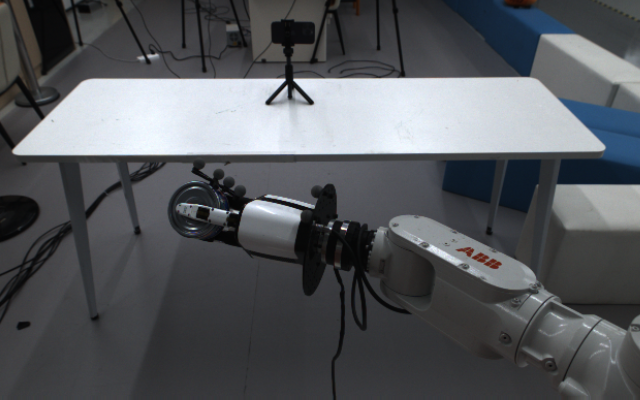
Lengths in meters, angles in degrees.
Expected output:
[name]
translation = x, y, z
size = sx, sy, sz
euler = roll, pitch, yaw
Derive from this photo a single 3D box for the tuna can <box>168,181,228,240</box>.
[tuna can]
translation = -0.179, 0.016, 0.716
size = 0.085, 0.085, 0.034
euler = 12, -5, 14
